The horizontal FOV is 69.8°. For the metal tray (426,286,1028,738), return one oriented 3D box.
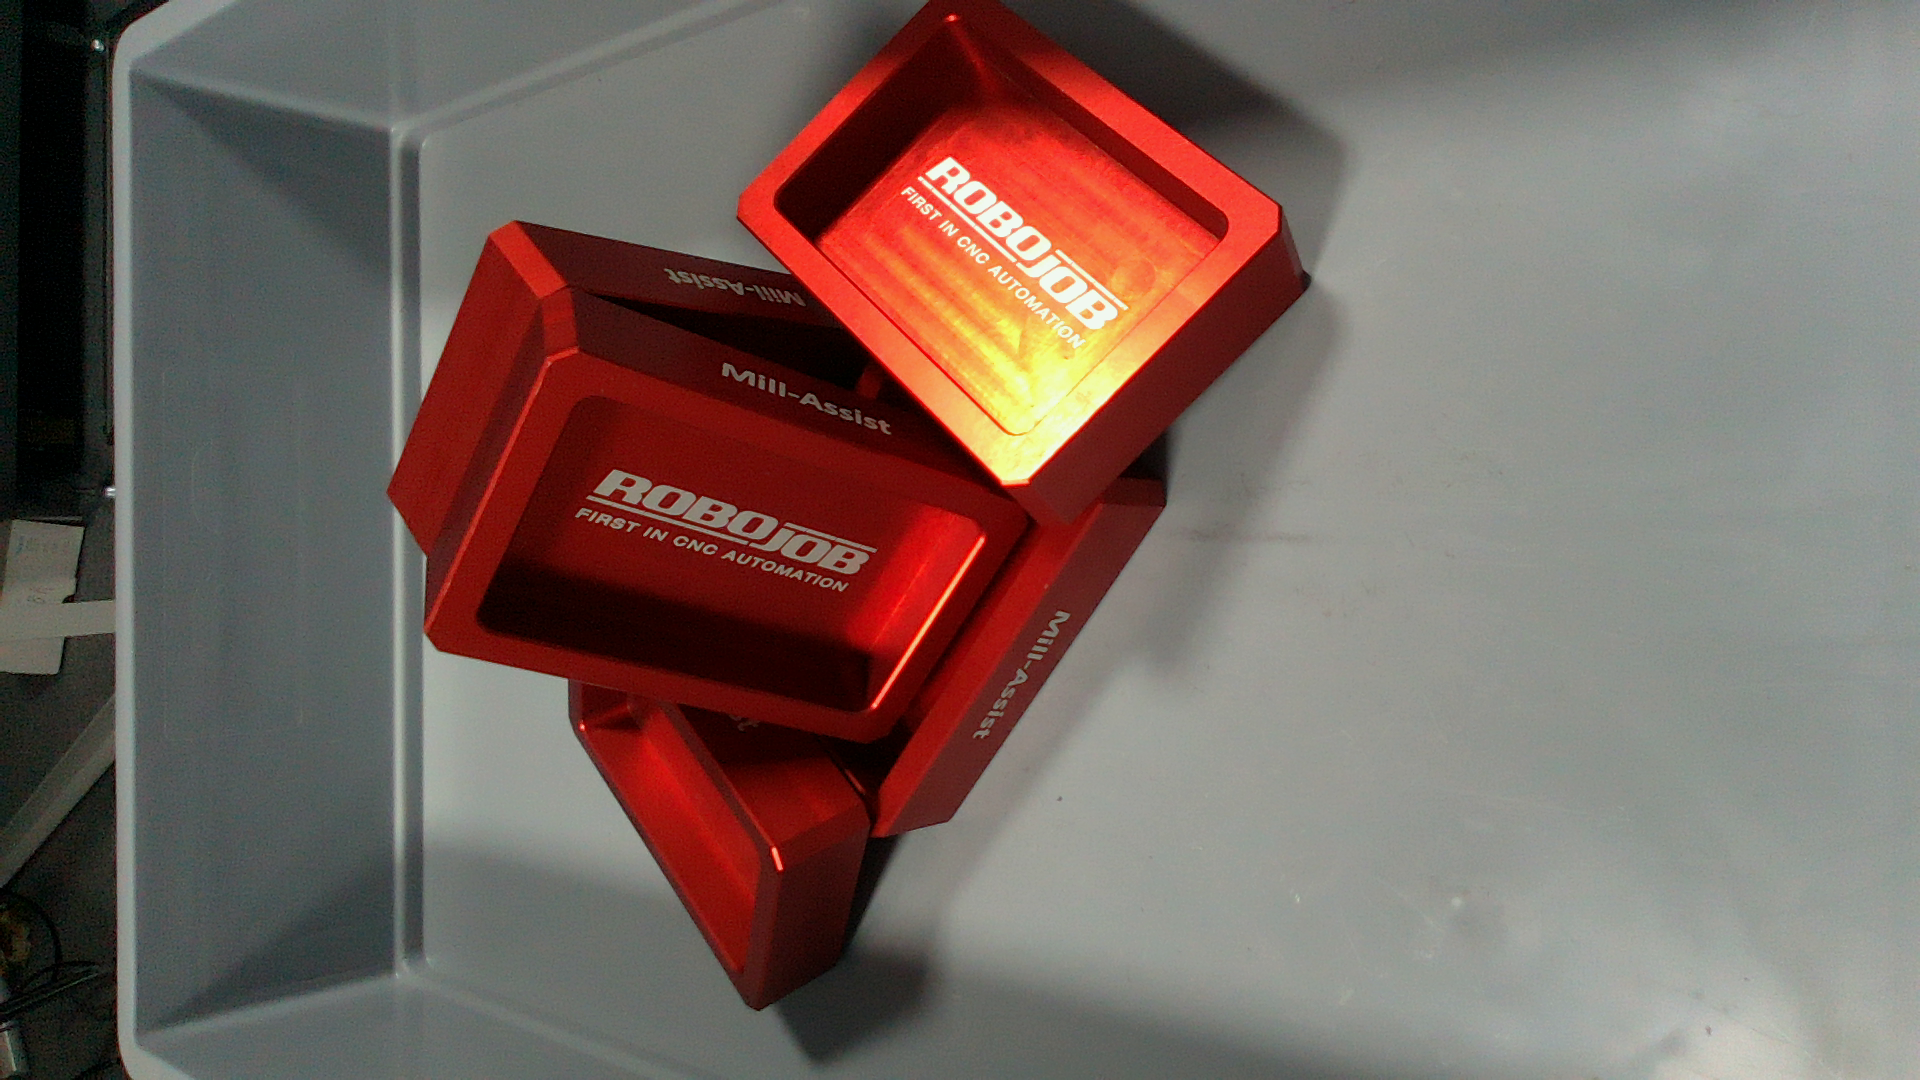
[{"bbox_3d":[-0.059,-0.001,0.358,0.090,0.130,0.030,-57,34,24],"label":"metal tray"}]

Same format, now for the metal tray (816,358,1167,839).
[{"bbox_3d":[-0.010,0.009,0.398,0.090,0.030,0.130,46,118,30],"label":"metal tray"}]

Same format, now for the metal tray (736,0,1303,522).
[{"bbox_3d":[0.011,-0.078,0.358,0.090,0.030,0.130,-45,60,2],"label":"metal tray"}]

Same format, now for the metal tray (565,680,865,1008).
[{"bbox_3d":[-0.083,0.071,0.437,0.130,0.030,0.090,47,143,30],"label":"metal tray"}]

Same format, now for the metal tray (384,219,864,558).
[{"bbox_3d":[-0.084,-0.035,0.393,0.030,0.131,0.090,48,119,30],"label":"metal tray"}]
